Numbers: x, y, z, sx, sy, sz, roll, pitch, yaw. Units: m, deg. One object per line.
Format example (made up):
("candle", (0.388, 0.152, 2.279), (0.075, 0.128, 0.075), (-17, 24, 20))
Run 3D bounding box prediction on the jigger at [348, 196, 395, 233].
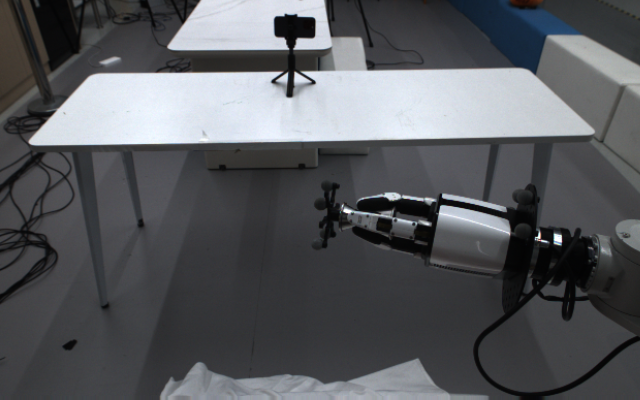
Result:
("jigger", (0.069, 0.023, 0.630), (0.071, 0.043, 0.043), (7, 35, 15))
